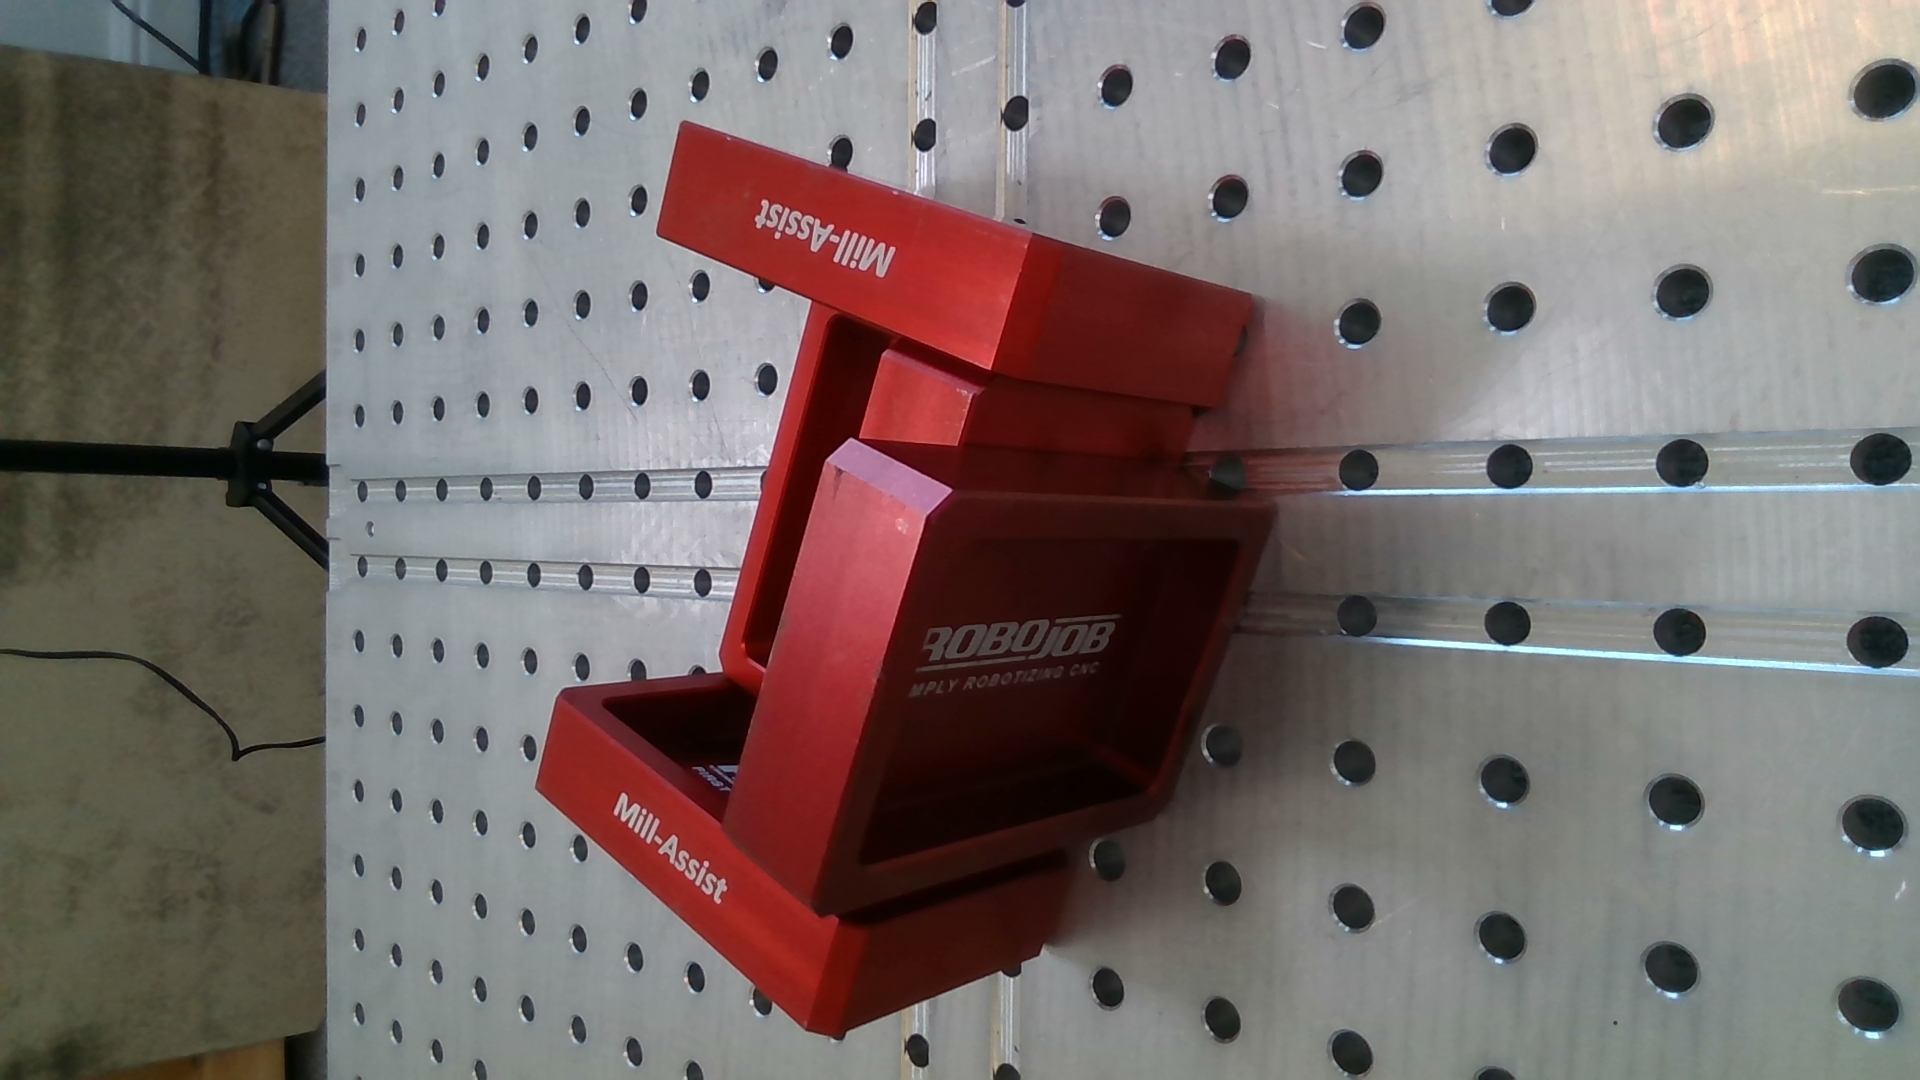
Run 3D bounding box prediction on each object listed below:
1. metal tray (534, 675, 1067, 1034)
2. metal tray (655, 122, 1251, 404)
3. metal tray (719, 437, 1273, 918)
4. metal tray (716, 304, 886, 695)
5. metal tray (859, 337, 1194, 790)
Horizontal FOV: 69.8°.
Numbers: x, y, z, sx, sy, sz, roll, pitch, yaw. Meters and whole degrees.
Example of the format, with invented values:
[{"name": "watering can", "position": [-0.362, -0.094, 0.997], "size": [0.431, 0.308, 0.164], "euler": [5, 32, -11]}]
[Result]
[{"name": "metal tray", "position": [-0.047, 0.079, 0.390], "size": [0.130, 0.090, 0.030], "euler": [27, 107, 37]}, {"name": "metal tray", "position": [-0.004, -0.071, 0.353], "size": [0.130, 0.090, 0.030], "euler": [27, 108, 37]}, {"name": "metal tray", "position": [0.014, 0.027, 0.312], "size": [0.030, 0.130, 0.090], "euler": [29, 109, 37]}, {"name": "metal tray", "position": [-0.020, -0.003, 0.406], "size": [0.090, 0.030, 0.130], "euler": [28, 108, 37]}, {"name": "metal tray", "position": [0.005, 0.019, 0.347], "size": [0.030, 0.090, 0.130], "euler": [28, 108, 37]}]
